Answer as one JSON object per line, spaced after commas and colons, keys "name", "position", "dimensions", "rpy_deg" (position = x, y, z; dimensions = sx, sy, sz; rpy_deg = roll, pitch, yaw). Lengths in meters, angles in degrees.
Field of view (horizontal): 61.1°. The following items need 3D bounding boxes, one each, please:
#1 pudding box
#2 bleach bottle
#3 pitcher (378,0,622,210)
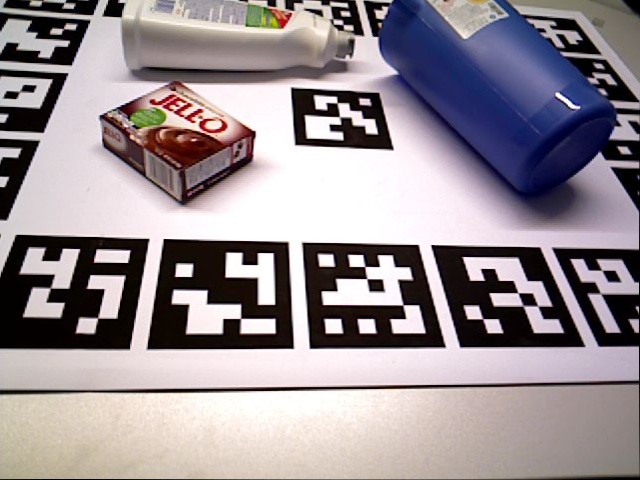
{"name": "pudding box", "position": [-0.131, -0.091, 0.487], "dimensions": [0.114, 0.039, 0.088], "rpy_deg": [38, 48, 19]}
{"name": "bleach bottle", "position": [-0.086, -0.225, 0.599], "dimensions": [0.248, 0.069, 0.101], "rpy_deg": [0, 54, -11]}
{"name": "pitcher", "position": [0.181, -0.148, 0.554], "dimensions": [0.186, 0.136, 0.241], "rpy_deg": [8, 44, -51]}
